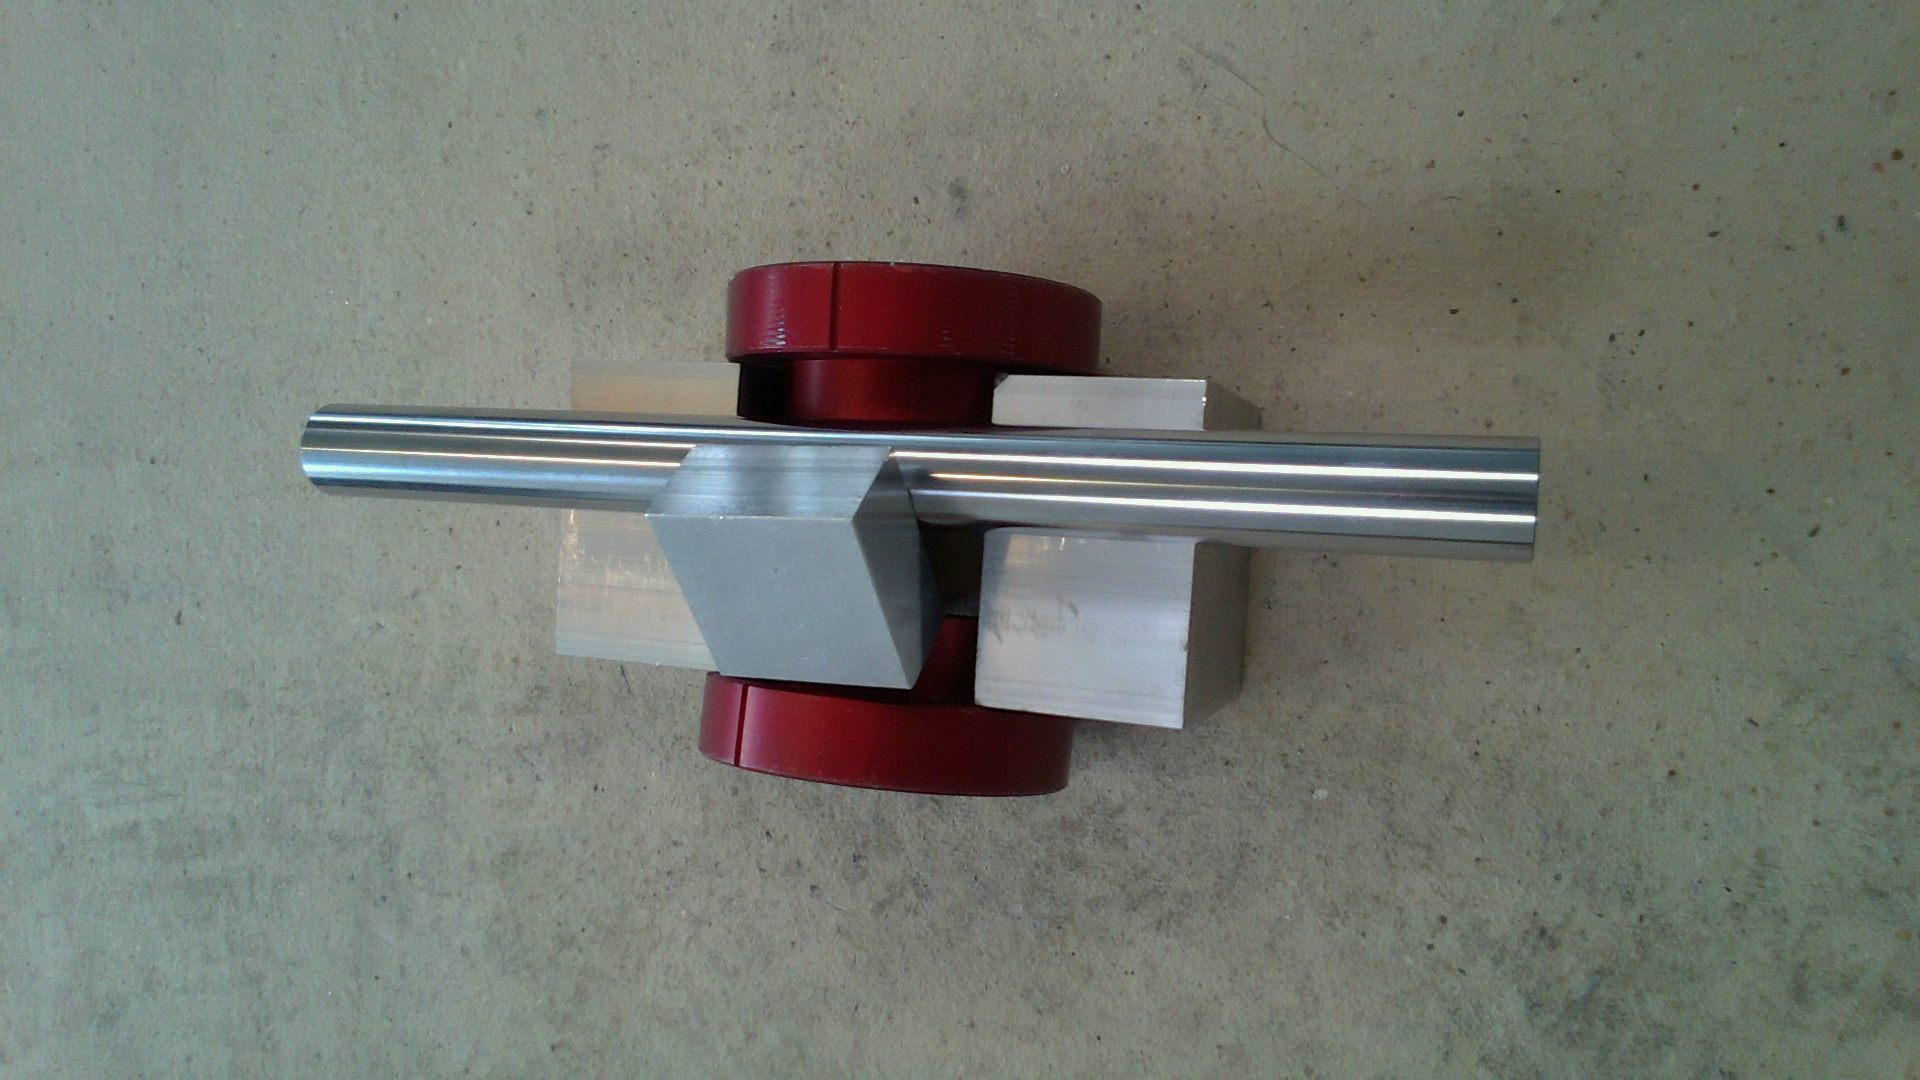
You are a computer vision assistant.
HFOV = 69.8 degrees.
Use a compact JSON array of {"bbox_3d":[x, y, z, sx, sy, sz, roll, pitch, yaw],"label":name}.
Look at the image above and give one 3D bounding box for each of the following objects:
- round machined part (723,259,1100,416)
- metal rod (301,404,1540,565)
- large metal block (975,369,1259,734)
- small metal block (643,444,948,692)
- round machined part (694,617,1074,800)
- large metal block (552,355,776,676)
[{"bbox_3d":[-0.013,-0.044,0.361,0.098,0.098,0.042,4,92,20],"label":"round machined part"},{"bbox_3d":[-0.028,-0.016,0.321,0.299,0.025,0.025,3,91,20],"label":"metal rod"},{"bbox_3d":[0.043,0.002,0.351,0.050,0.080,0.080,4,91,20],"label":"large metal block"},{"bbox_3d":[-0.035,0.006,0.309,0.050,0.025,0.050,2,131,22],"label":"small metal block"},{"bbox_3d":[-0.018,0.040,0.363,0.098,0.098,0.042,5,87,20],"label":"round machined part"},{"bbox_3d":[-0.068,-0.007,0.391,0.050,0.080,0.080,5,92,20],"label":"large metal block"}]
